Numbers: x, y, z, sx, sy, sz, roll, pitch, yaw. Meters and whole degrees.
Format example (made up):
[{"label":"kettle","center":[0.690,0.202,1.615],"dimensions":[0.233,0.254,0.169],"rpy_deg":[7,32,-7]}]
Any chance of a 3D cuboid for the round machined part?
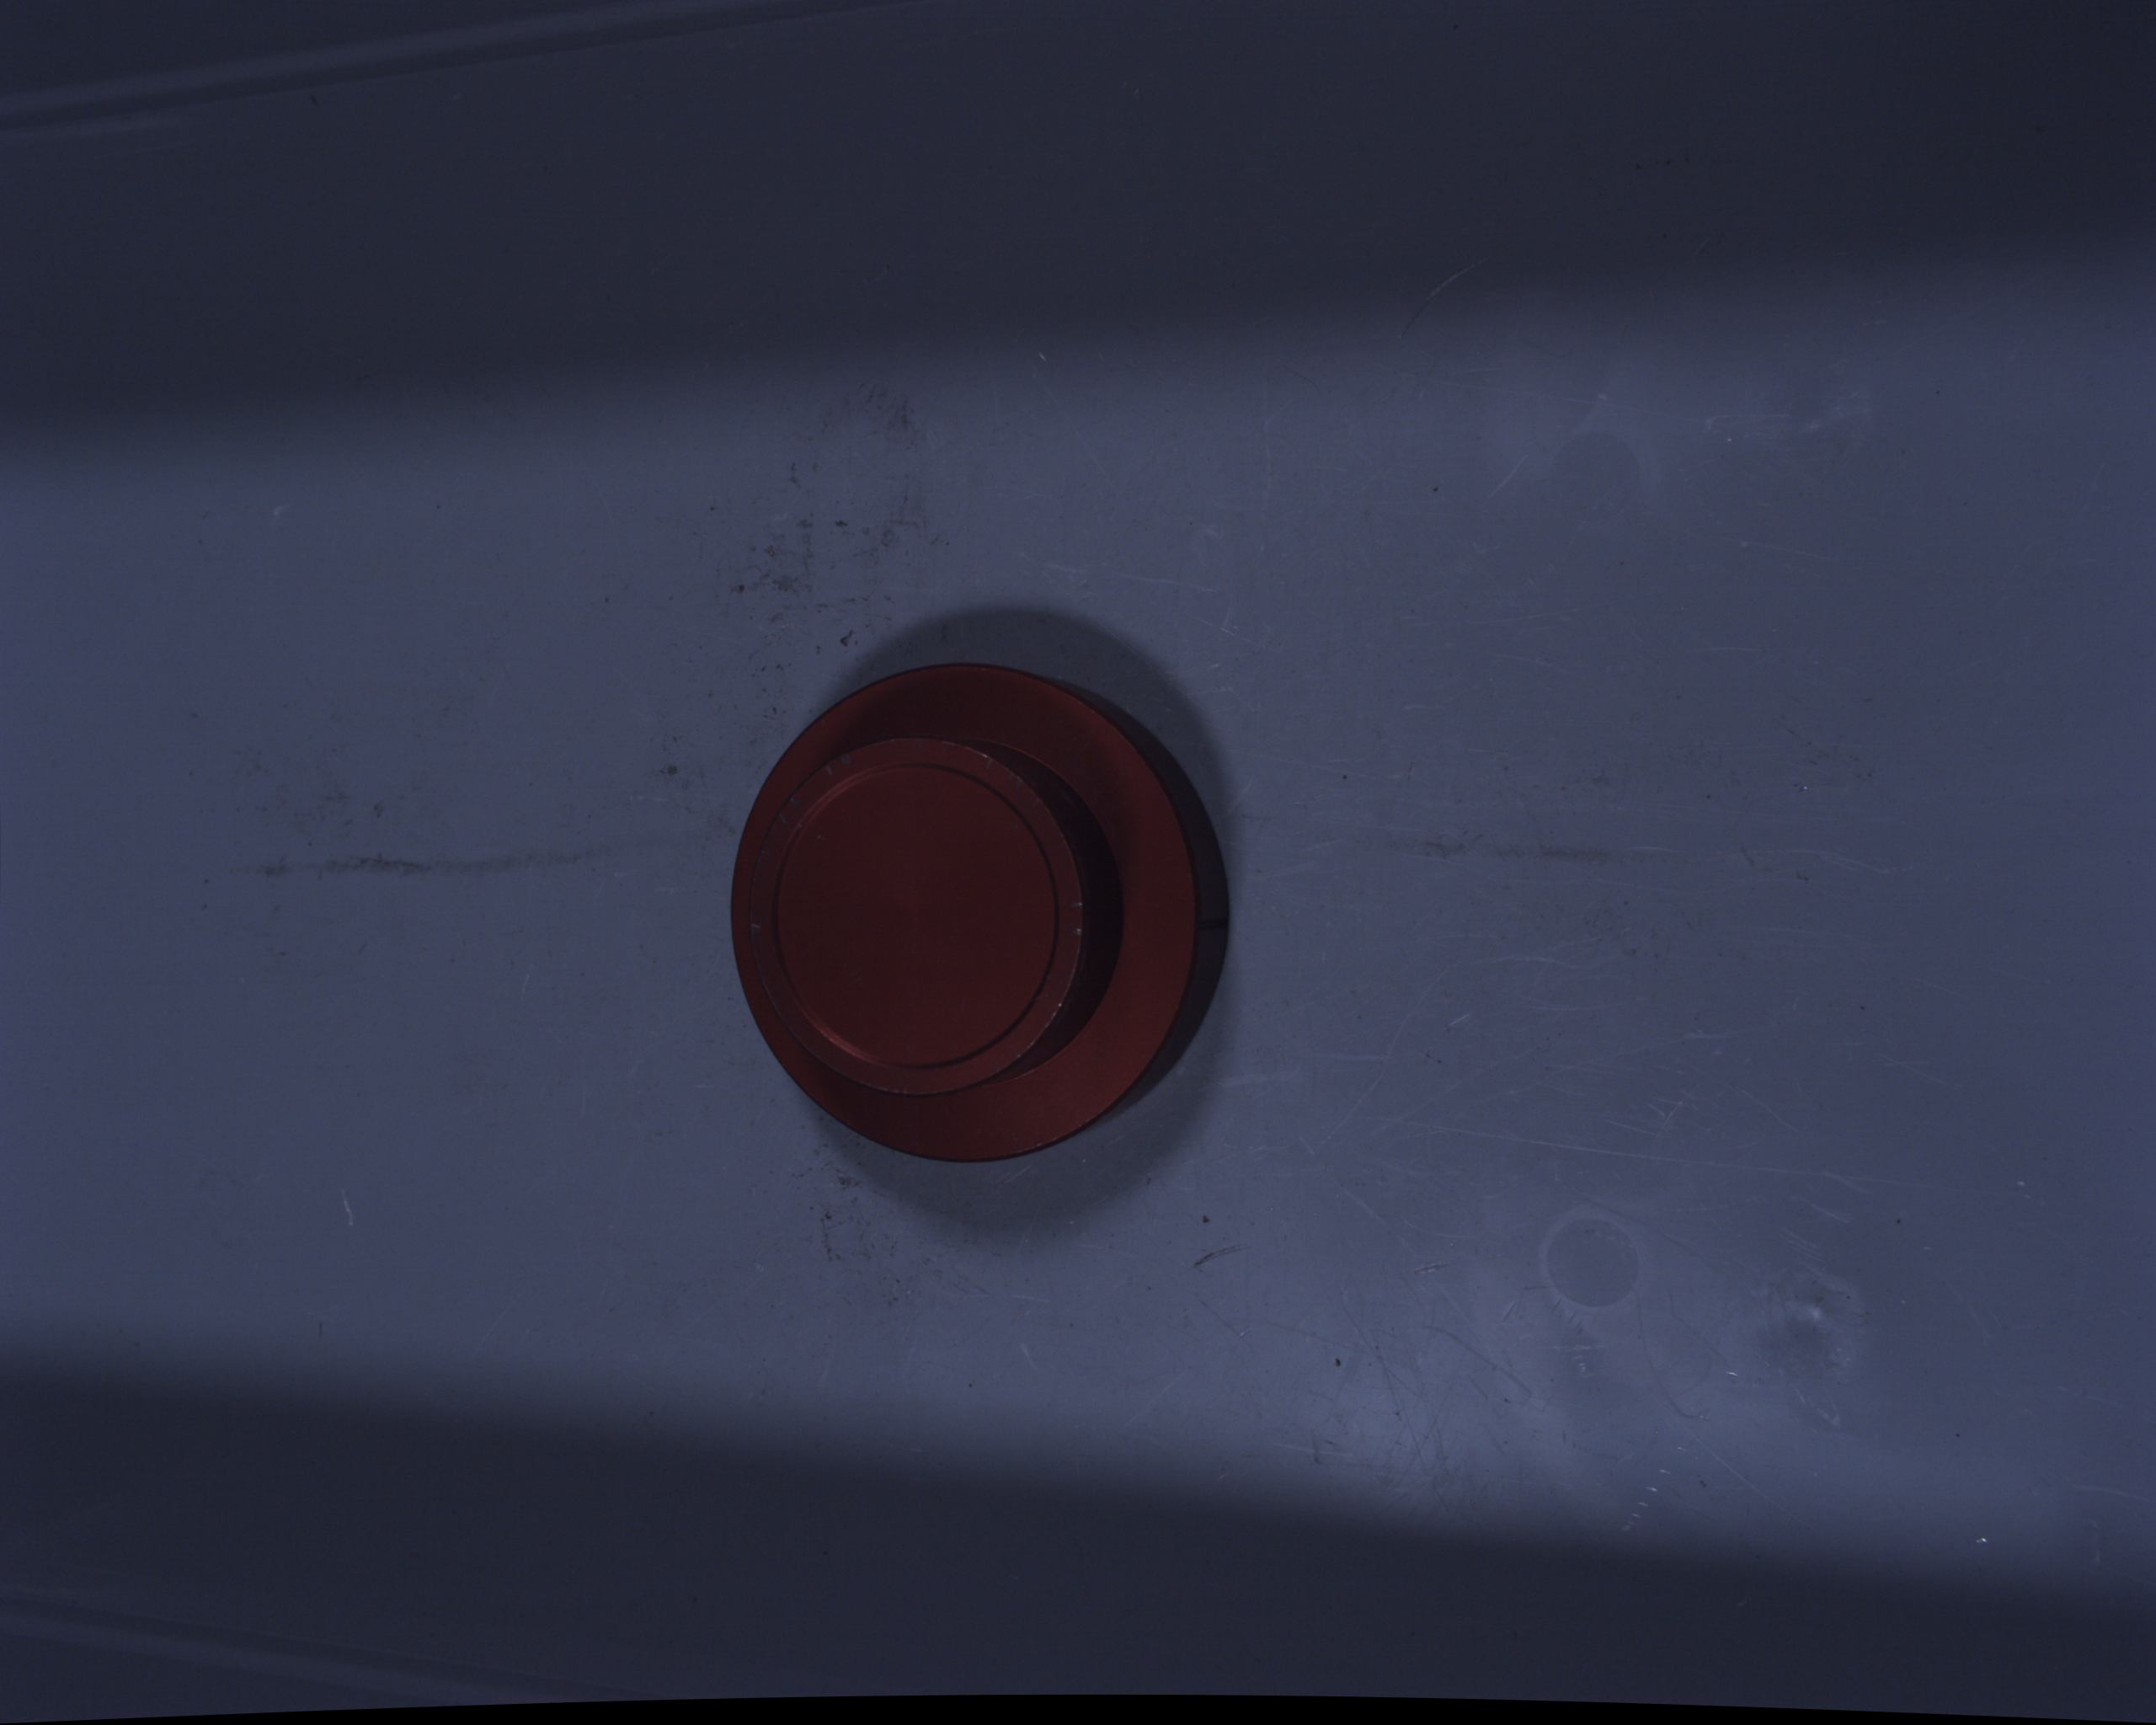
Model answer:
[{"label":"round machined part","center":[-0.024,0.010,0.405],"dimensions":[0.098,0.042,0.097],"rpy_deg":[0,90,19]}]
